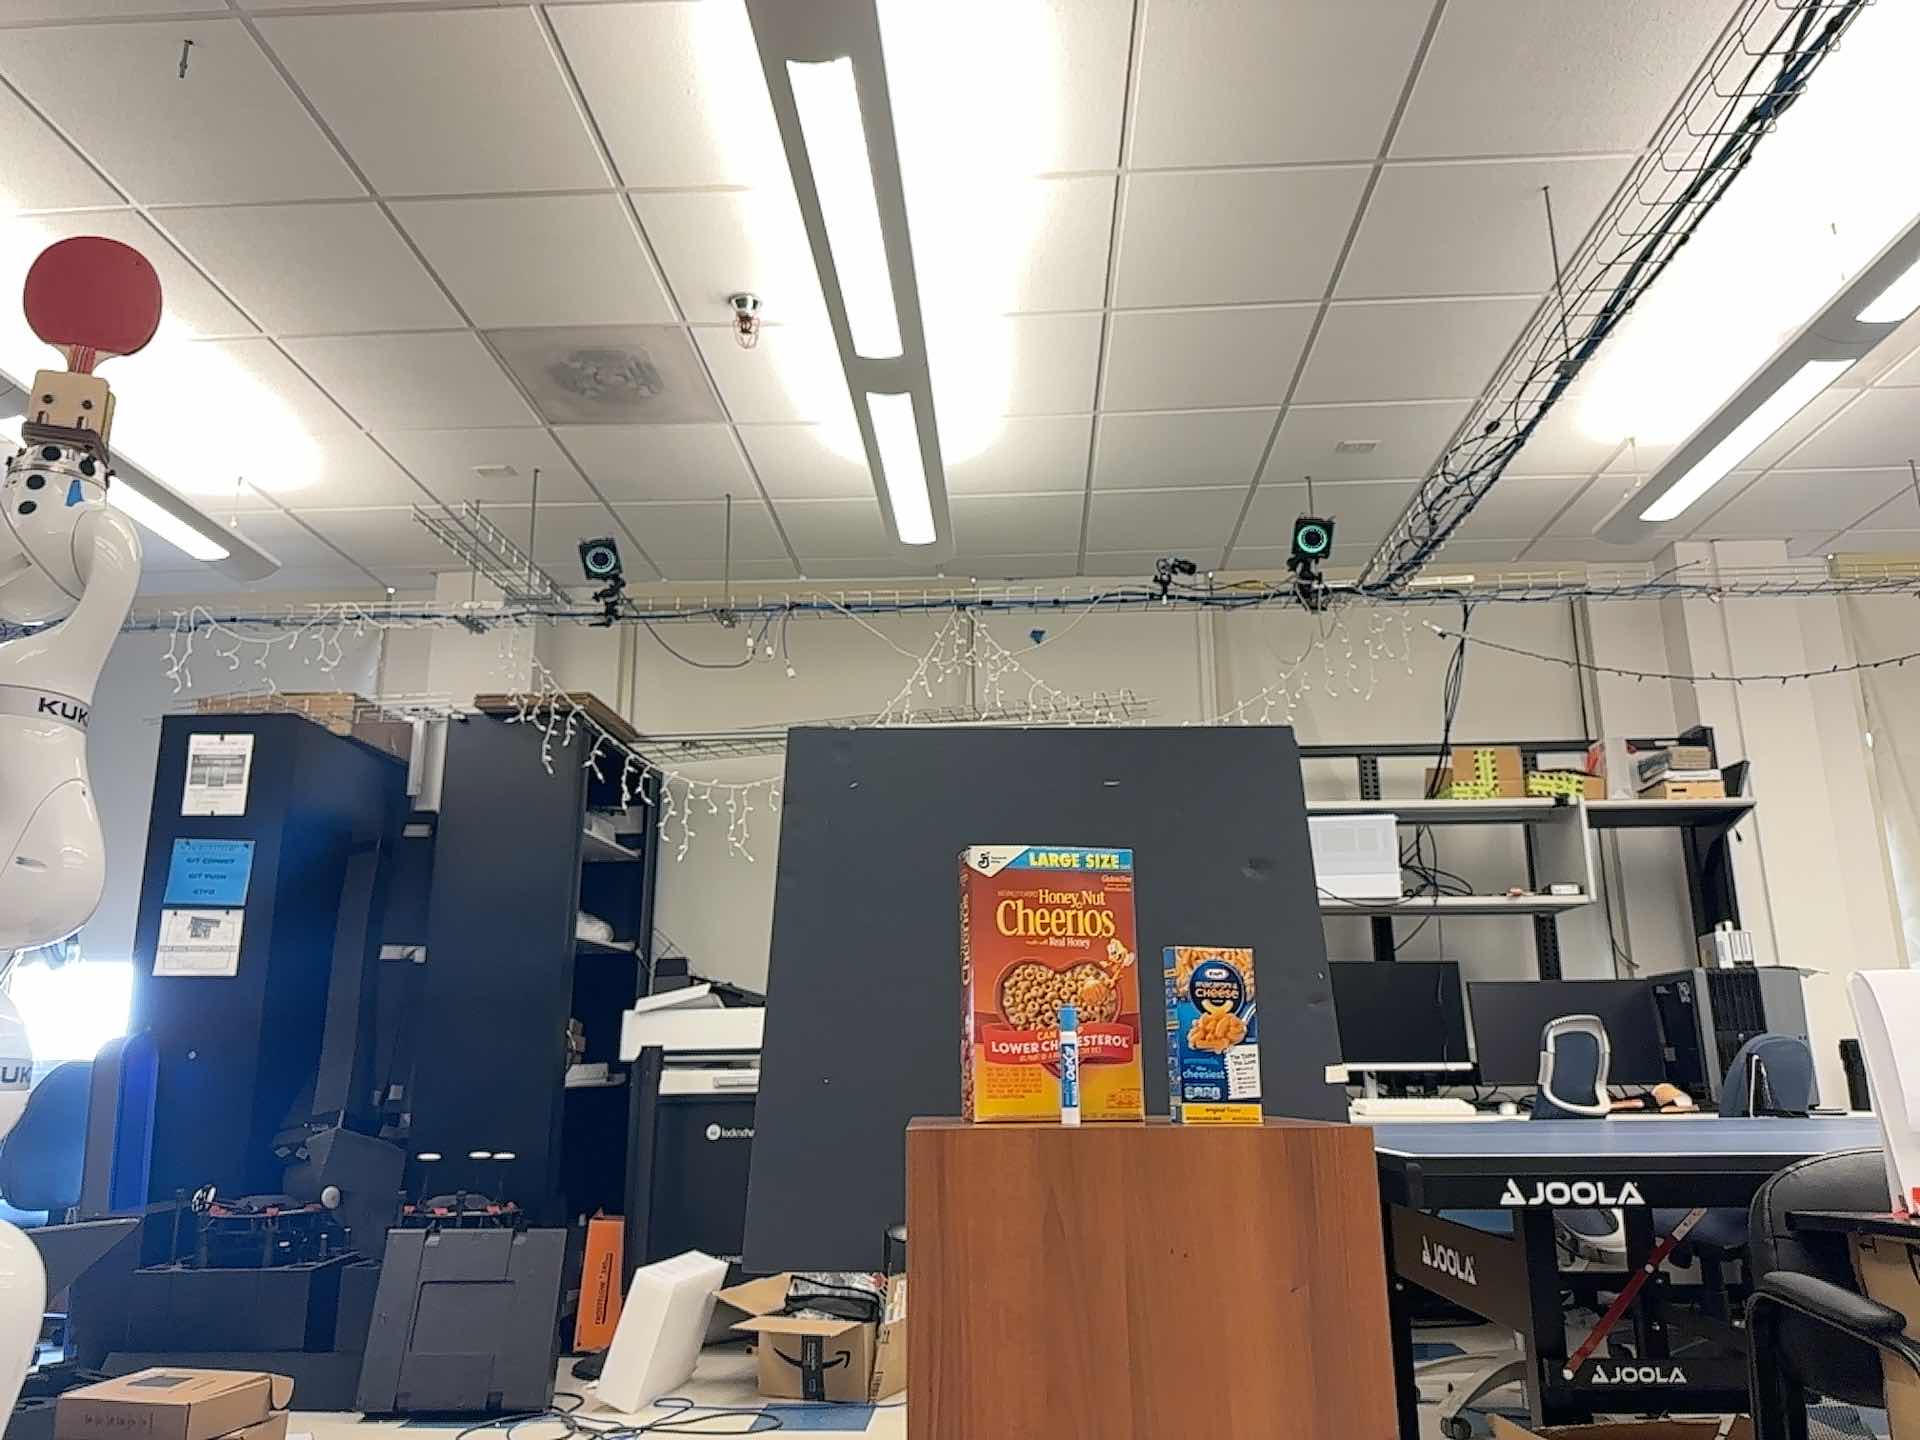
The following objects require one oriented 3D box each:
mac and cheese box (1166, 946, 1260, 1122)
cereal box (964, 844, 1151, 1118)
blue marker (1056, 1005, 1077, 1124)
[{"bbox_3d":[0.275,0.342,1.473,0.088,0.181,0.035,1,-15,-3],"label":"mac and cheese box"},{"bbox_3d":[0.108,0.297,1.548,0.195,0.297,0.065,3,-15,-9],"label":"cereal box"},{"bbox_3d":[0.112,0.363,1.428,0.020,0.121,0.020,0,-13,0],"label":"blue marker"}]
